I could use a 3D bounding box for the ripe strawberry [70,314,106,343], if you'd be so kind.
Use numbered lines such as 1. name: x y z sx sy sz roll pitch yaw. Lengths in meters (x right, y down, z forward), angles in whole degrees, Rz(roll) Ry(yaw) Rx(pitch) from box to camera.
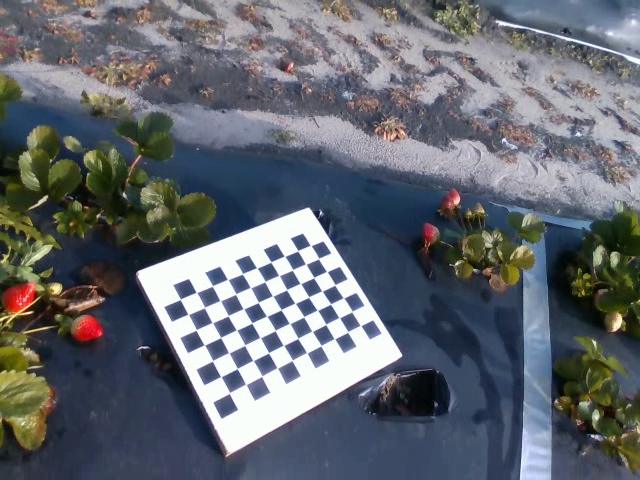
1. ripe strawberry: -0.285 0.110 0.790 0.043 0.035 0.030 24 -35 -1

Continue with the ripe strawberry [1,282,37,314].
1. ripe strawberry: -0.364 0.066 0.783 0.040 0.049 0.031 45 8 9
